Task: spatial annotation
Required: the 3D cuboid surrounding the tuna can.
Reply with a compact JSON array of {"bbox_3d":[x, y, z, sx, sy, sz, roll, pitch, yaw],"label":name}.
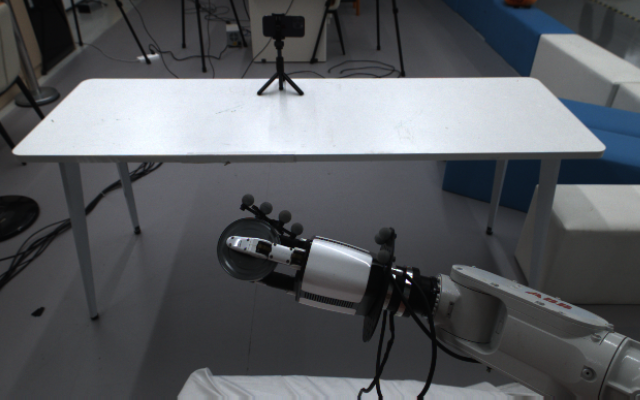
[{"bbox_3d":[-0.095,0.069,0.662,0.085,0.034,0.085,1,75,-4],"label":"tuna can"}]
